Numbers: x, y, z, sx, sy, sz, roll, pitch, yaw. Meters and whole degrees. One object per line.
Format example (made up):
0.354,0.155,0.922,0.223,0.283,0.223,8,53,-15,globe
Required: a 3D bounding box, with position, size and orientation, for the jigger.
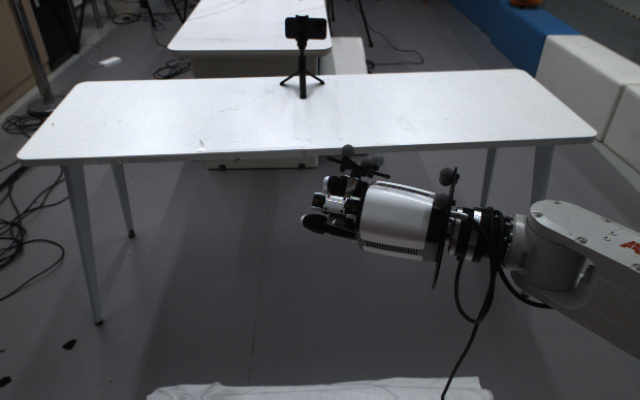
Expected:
0.037,0.004,0.645,0.043,0.071,0.043,19,-6,2,jigger
